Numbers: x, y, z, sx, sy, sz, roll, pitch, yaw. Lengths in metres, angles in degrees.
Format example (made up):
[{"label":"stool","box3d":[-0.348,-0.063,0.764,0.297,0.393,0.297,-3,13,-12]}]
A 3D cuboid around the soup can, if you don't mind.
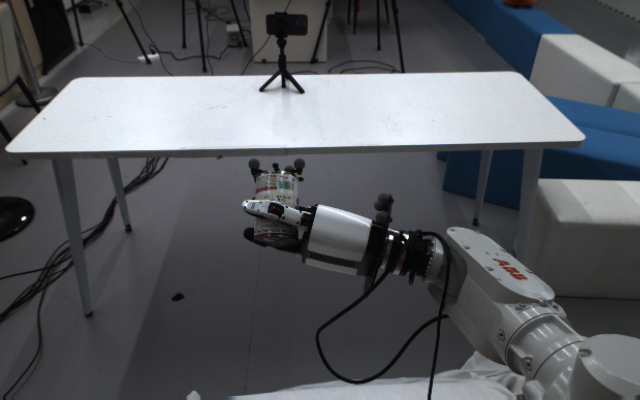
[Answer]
[{"label":"soup can","box3d":[-0.065,0.014,0.728,0.067,0.067,0.101,1,73,-2]}]
